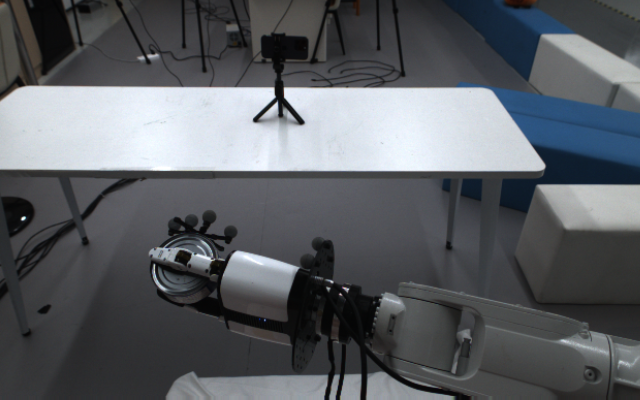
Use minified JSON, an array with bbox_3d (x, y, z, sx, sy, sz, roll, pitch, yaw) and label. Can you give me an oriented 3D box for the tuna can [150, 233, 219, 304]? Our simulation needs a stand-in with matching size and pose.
[{"bbox_3d":[-0.166,0.086,0.612,0.085,0.034,0.085,-3,57,4],"label":"tuna can"}]
